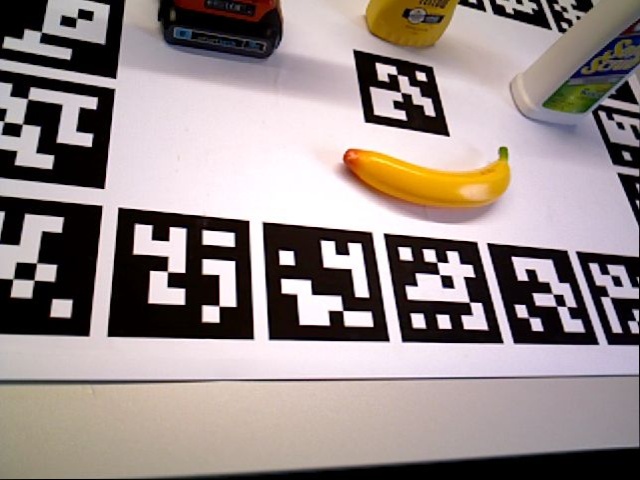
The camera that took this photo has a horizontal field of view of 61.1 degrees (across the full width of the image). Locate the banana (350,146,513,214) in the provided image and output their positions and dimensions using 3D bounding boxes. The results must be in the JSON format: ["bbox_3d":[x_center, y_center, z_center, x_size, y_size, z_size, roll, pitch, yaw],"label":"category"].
[{"bbox_3d":[0.121,-0.060,0.514,0.194,0.040,0.073,-1,67,-20],"label":"banana"}]

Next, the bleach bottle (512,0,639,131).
[{"bbox_3d":[0.322,-0.221,0.561,0.101,0.257,0.067,13,59,-17],"label":"bleach bottle"}]

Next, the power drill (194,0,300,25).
[{"bbox_3d":[-0.031,-0.268,0.440,0.182,0.191,0.057,-2,64,-19],"label":"power drill"}]

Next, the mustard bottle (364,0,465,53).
[{"bbox_3d":[0.128,-0.280,0.550,0.094,0.196,0.058,-2,64,-26],"label":"mustard bottle"}]
